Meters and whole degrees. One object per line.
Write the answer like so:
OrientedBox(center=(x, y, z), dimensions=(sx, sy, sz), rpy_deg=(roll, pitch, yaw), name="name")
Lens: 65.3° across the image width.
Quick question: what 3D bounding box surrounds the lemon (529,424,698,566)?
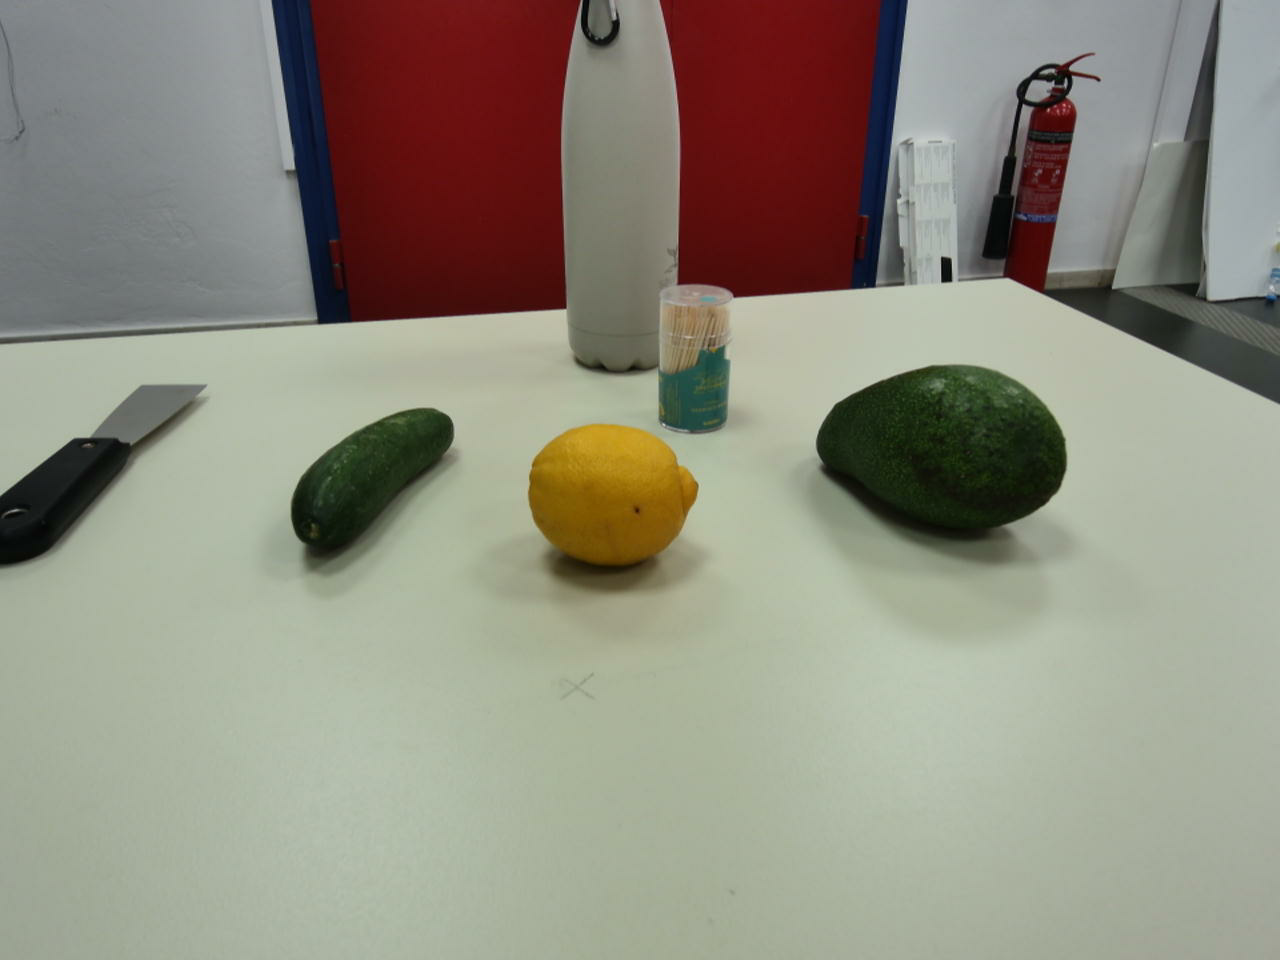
OrientedBox(center=(-0.013, 0.007, 0.423), dimensions=(0.067, 0.059, 0.060), rpy_deg=(14, 27, 26), name="lemon")
